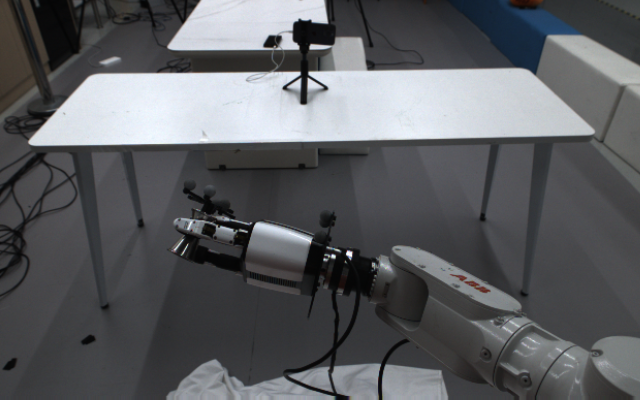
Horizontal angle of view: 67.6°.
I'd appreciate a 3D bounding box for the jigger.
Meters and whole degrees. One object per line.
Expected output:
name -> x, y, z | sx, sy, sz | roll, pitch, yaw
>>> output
jigger -> -0.182, 0.049, 0.687 | 0.043, 0.043, 0.071 | 20, 73, 23
